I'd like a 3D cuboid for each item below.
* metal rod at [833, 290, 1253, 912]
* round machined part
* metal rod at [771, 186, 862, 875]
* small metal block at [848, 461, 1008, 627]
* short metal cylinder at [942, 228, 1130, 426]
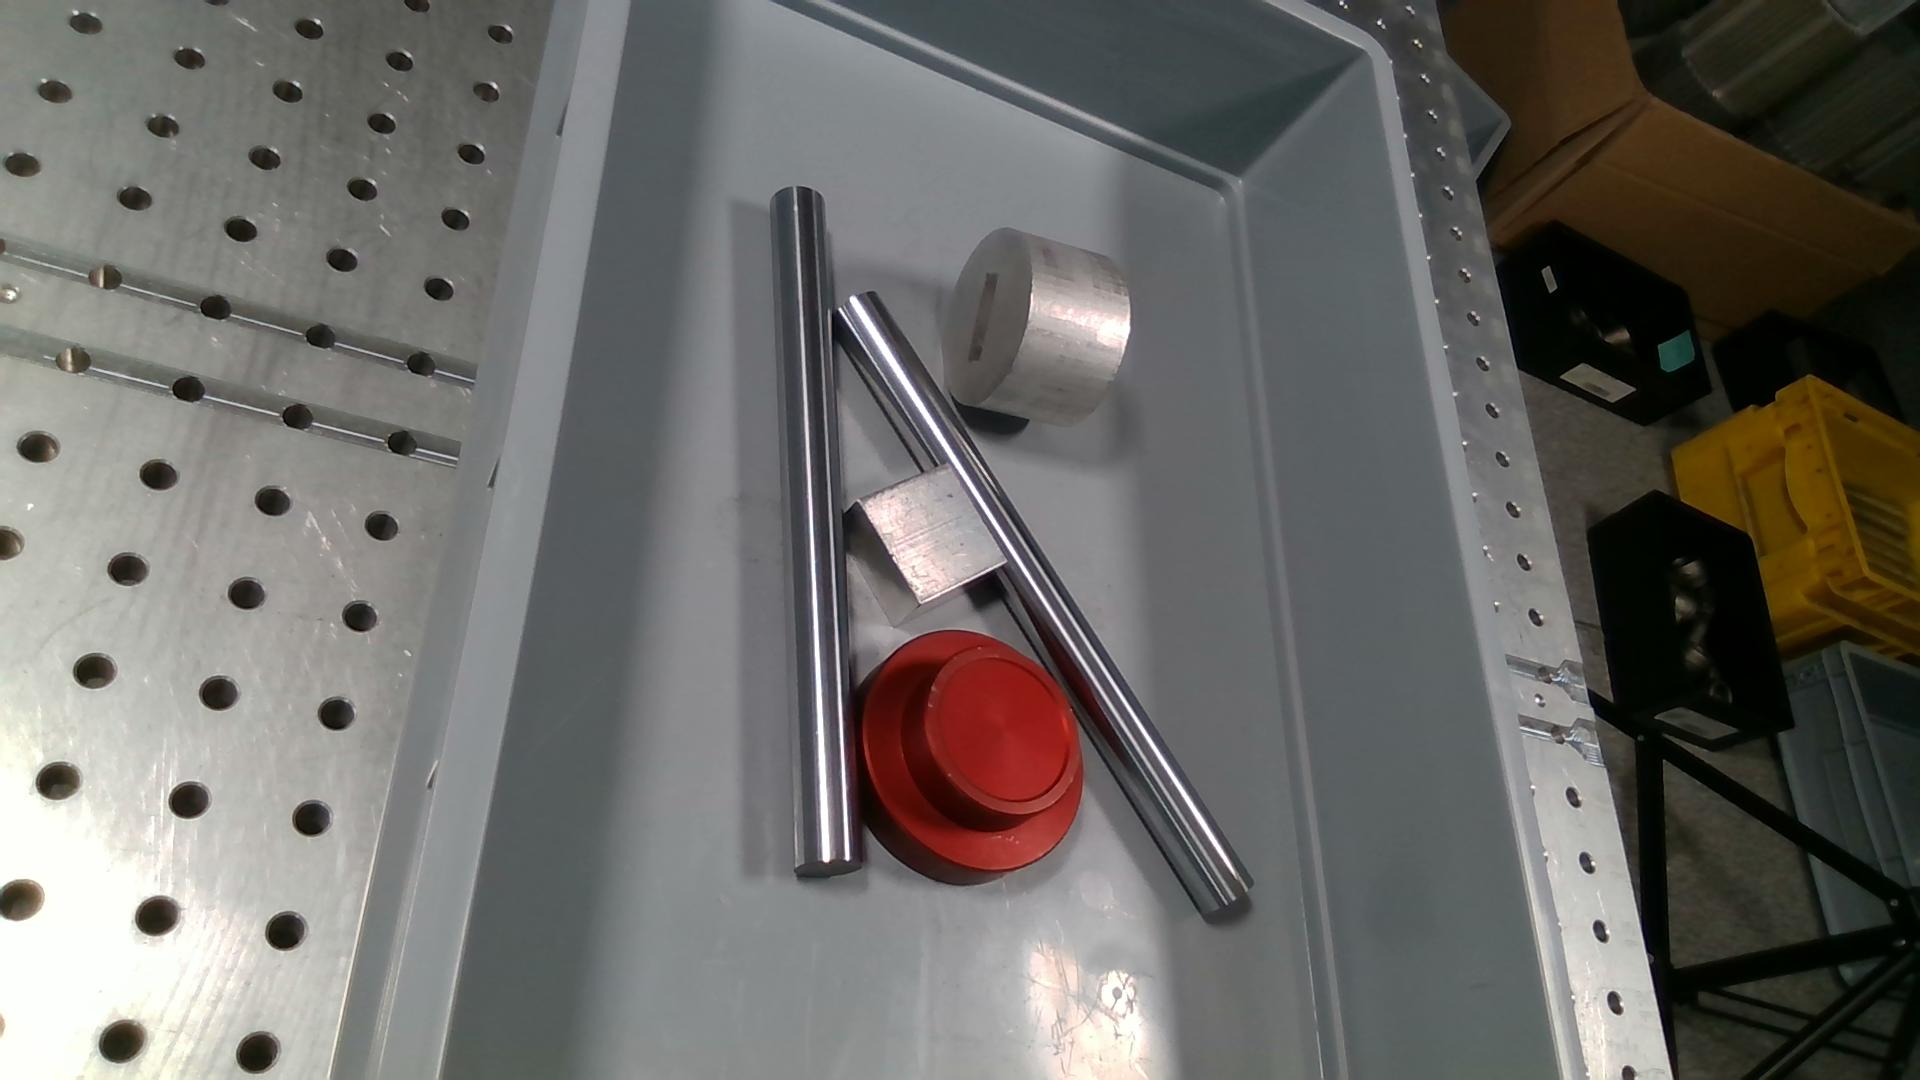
[{"bbox_3d":[0.032,0.022,0.592,0.025,0.025,0.300,-27,81,-38],"label":"metal rod"},{"bbox_3d":[0.007,0.079,0.534,0.098,0.042,0.098,14,59,-25],"label":"round machined part"},{"bbox_3d":[-0.060,-0.017,0.557,0.025,0.025,0.299,9,61,-28],"label":"metal rod"},{"bbox_3d":[-0.017,0.001,0.573,0.050,0.025,0.050,-25,80,-38],"label":"small metal block"},{"bbox_3d":[0.033,-0.095,0.621,0.050,0.080,0.080,9,61,-27],"label":"short metal cylinder"}]
